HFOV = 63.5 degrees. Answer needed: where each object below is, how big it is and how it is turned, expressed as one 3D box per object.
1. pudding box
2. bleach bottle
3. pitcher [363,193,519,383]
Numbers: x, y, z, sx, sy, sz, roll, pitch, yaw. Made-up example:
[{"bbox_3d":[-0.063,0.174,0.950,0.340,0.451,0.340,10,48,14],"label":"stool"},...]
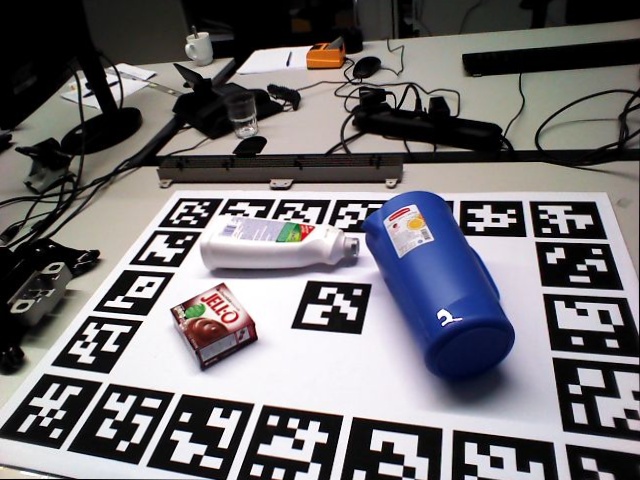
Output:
[{"bbox_3d":[-0.157,0.114,0.733,0.089,0.039,0.114,-22,40,-23],"label":"pudding box"},{"bbox_3d":[-0.060,0.002,0.840,0.252,0.068,0.102,1,43,13],"label":"bleach bottle"},{"bbox_3d":[0.164,0.061,0.678,0.188,0.134,0.241,14,35,-25],"label":"pitcher"}]
